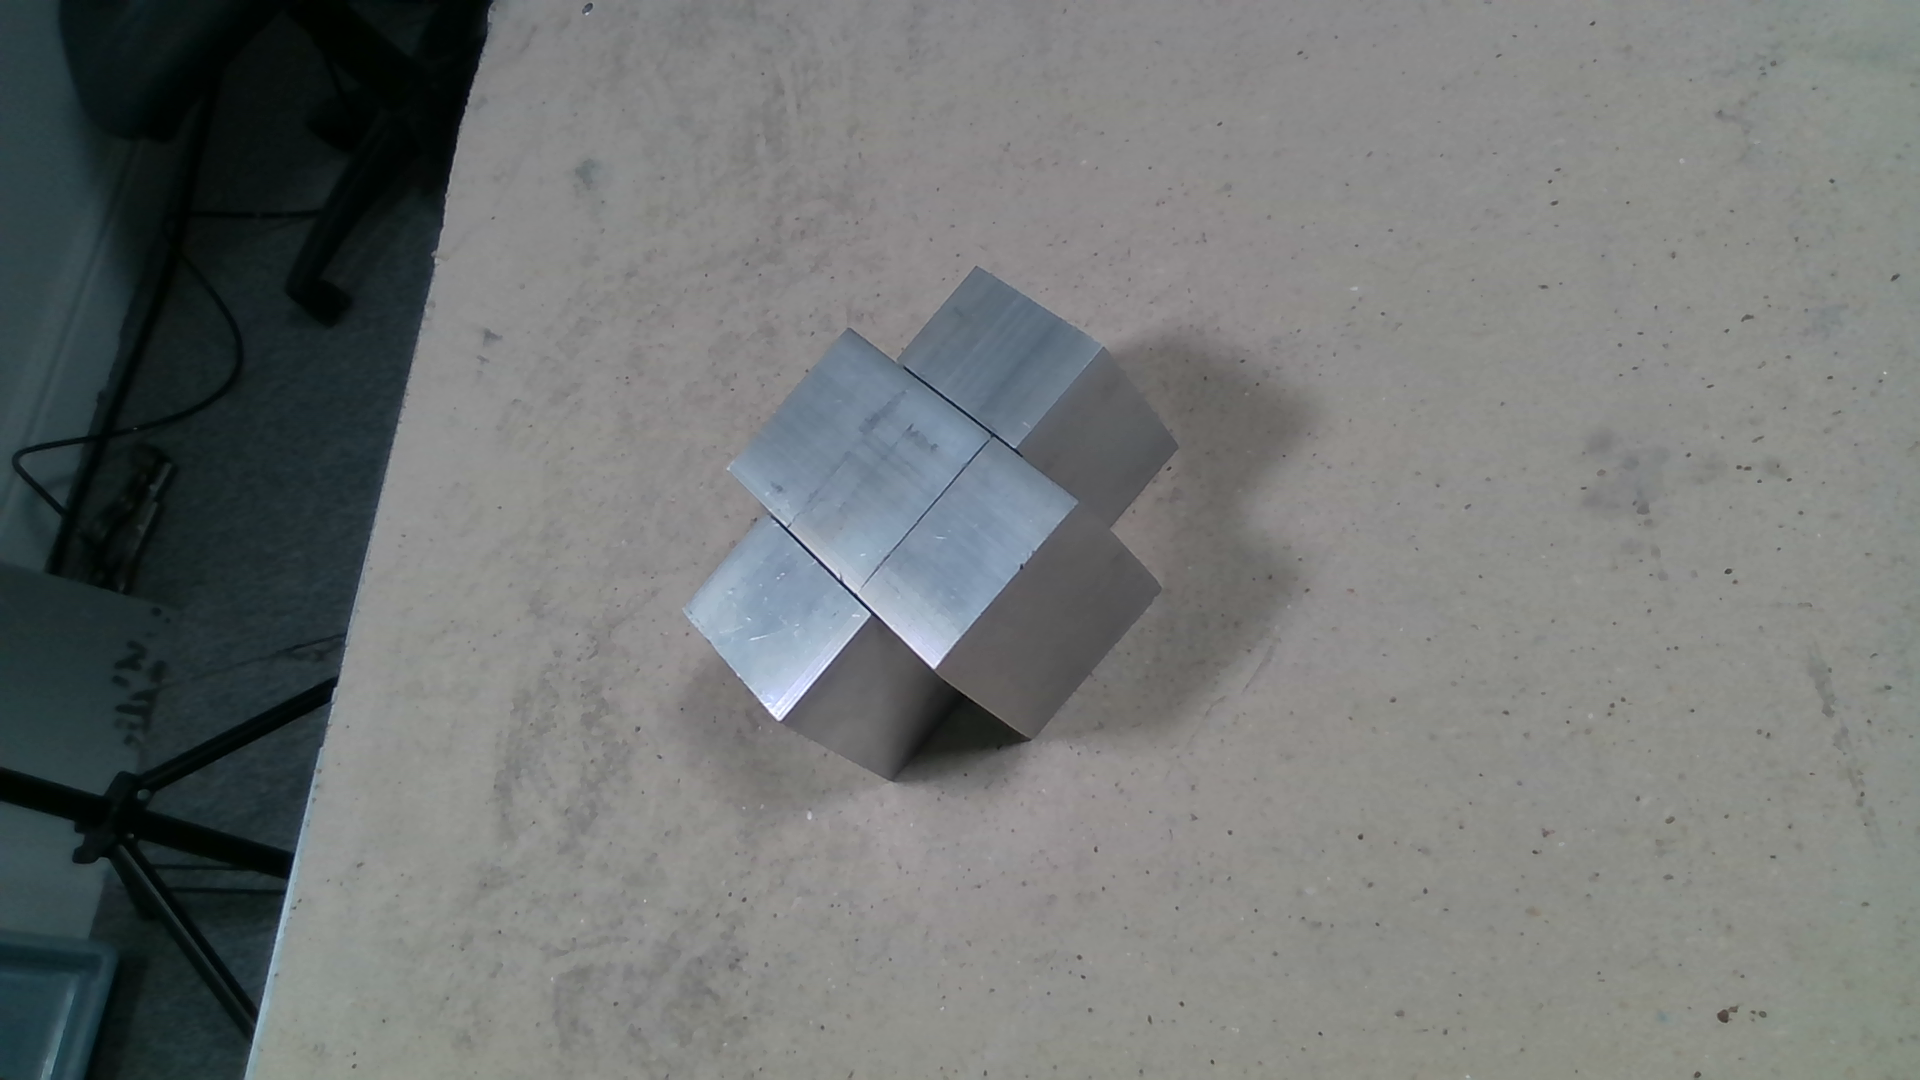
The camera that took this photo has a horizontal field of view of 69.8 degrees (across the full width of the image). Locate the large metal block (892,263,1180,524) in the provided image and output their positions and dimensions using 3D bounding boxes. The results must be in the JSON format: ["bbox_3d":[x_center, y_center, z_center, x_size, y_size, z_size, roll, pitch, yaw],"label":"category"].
[{"bbox_3d":[0.032,-0.056,0.561,0.050,0.080,0.080,-49,51,0],"label":"large metal block"}]

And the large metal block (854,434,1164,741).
[{"bbox_3d":[0.021,0.020,0.528,0.080,0.080,0.050,-49,51,0],"label":"large metal block"}]

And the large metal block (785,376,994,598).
[{"bbox_3d":[-0.009,-0.005,0.559,0.080,0.080,0.050,-49,51,0],"label":"large metal block"}]

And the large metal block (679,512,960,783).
[{"bbox_3d":[-0.054,0.044,0.561,0.050,0.080,0.080,-49,51,0],"label":"large metal block"}]

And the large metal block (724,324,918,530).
[{"bbox_3d":[-0.039,-0.031,0.591,0.080,0.080,0.050,-49,51,0],"label":"large metal block"}]
